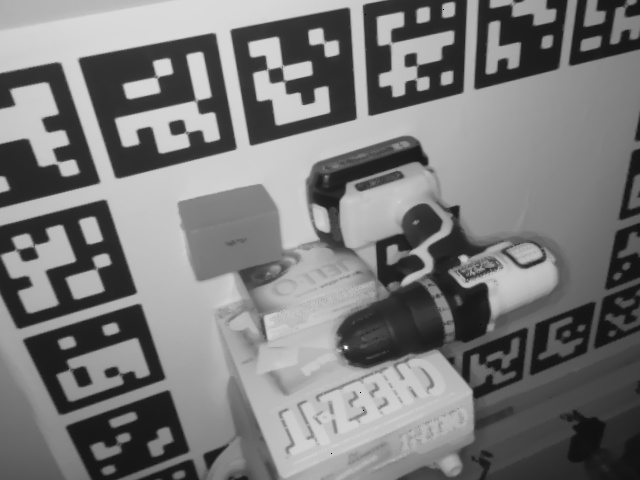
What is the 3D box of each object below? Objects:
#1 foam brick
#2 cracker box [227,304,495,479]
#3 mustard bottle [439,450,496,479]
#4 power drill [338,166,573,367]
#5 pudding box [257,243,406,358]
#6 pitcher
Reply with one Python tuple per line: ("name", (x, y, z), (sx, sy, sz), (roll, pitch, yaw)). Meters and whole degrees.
("foam brick", (-0.062, -0.001, 0.615), (0.079, 0.051, 0.052), (-15, 120, -16))
("cracker box", (0.027, 0.120, 0.615), (0.166, 0.213, 0.071), (-19, 125, -16))
("mustard bottle", (0.118, 0.179, 0.694), (0.097, 0.191, 0.058), (-4, 117, -21))
("power drill", (0.084, 0.014, 0.565), (0.186, 0.186, 0.057), (-17, 126, -14))
("pudding box", (0.010, 0.052, 0.636), (0.115, 0.089, 0.038), (-17, 124, -18))
("pitcher", (-0.002, 0.222, 0.650), (0.191, 0.242, 0.132), (-12, 121, -20))
